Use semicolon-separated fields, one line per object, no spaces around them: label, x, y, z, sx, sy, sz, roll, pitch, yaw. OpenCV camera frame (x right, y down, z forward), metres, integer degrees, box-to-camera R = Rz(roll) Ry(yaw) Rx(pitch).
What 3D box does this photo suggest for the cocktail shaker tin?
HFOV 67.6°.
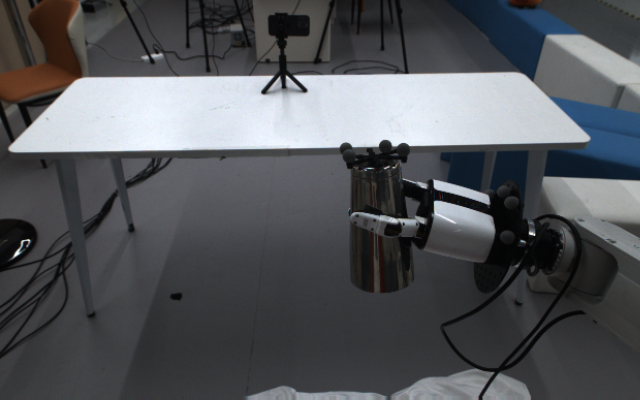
cocktail shaker tin;0.082;0.031;0.668;0.093;0.170;0.093;-6;19;2
